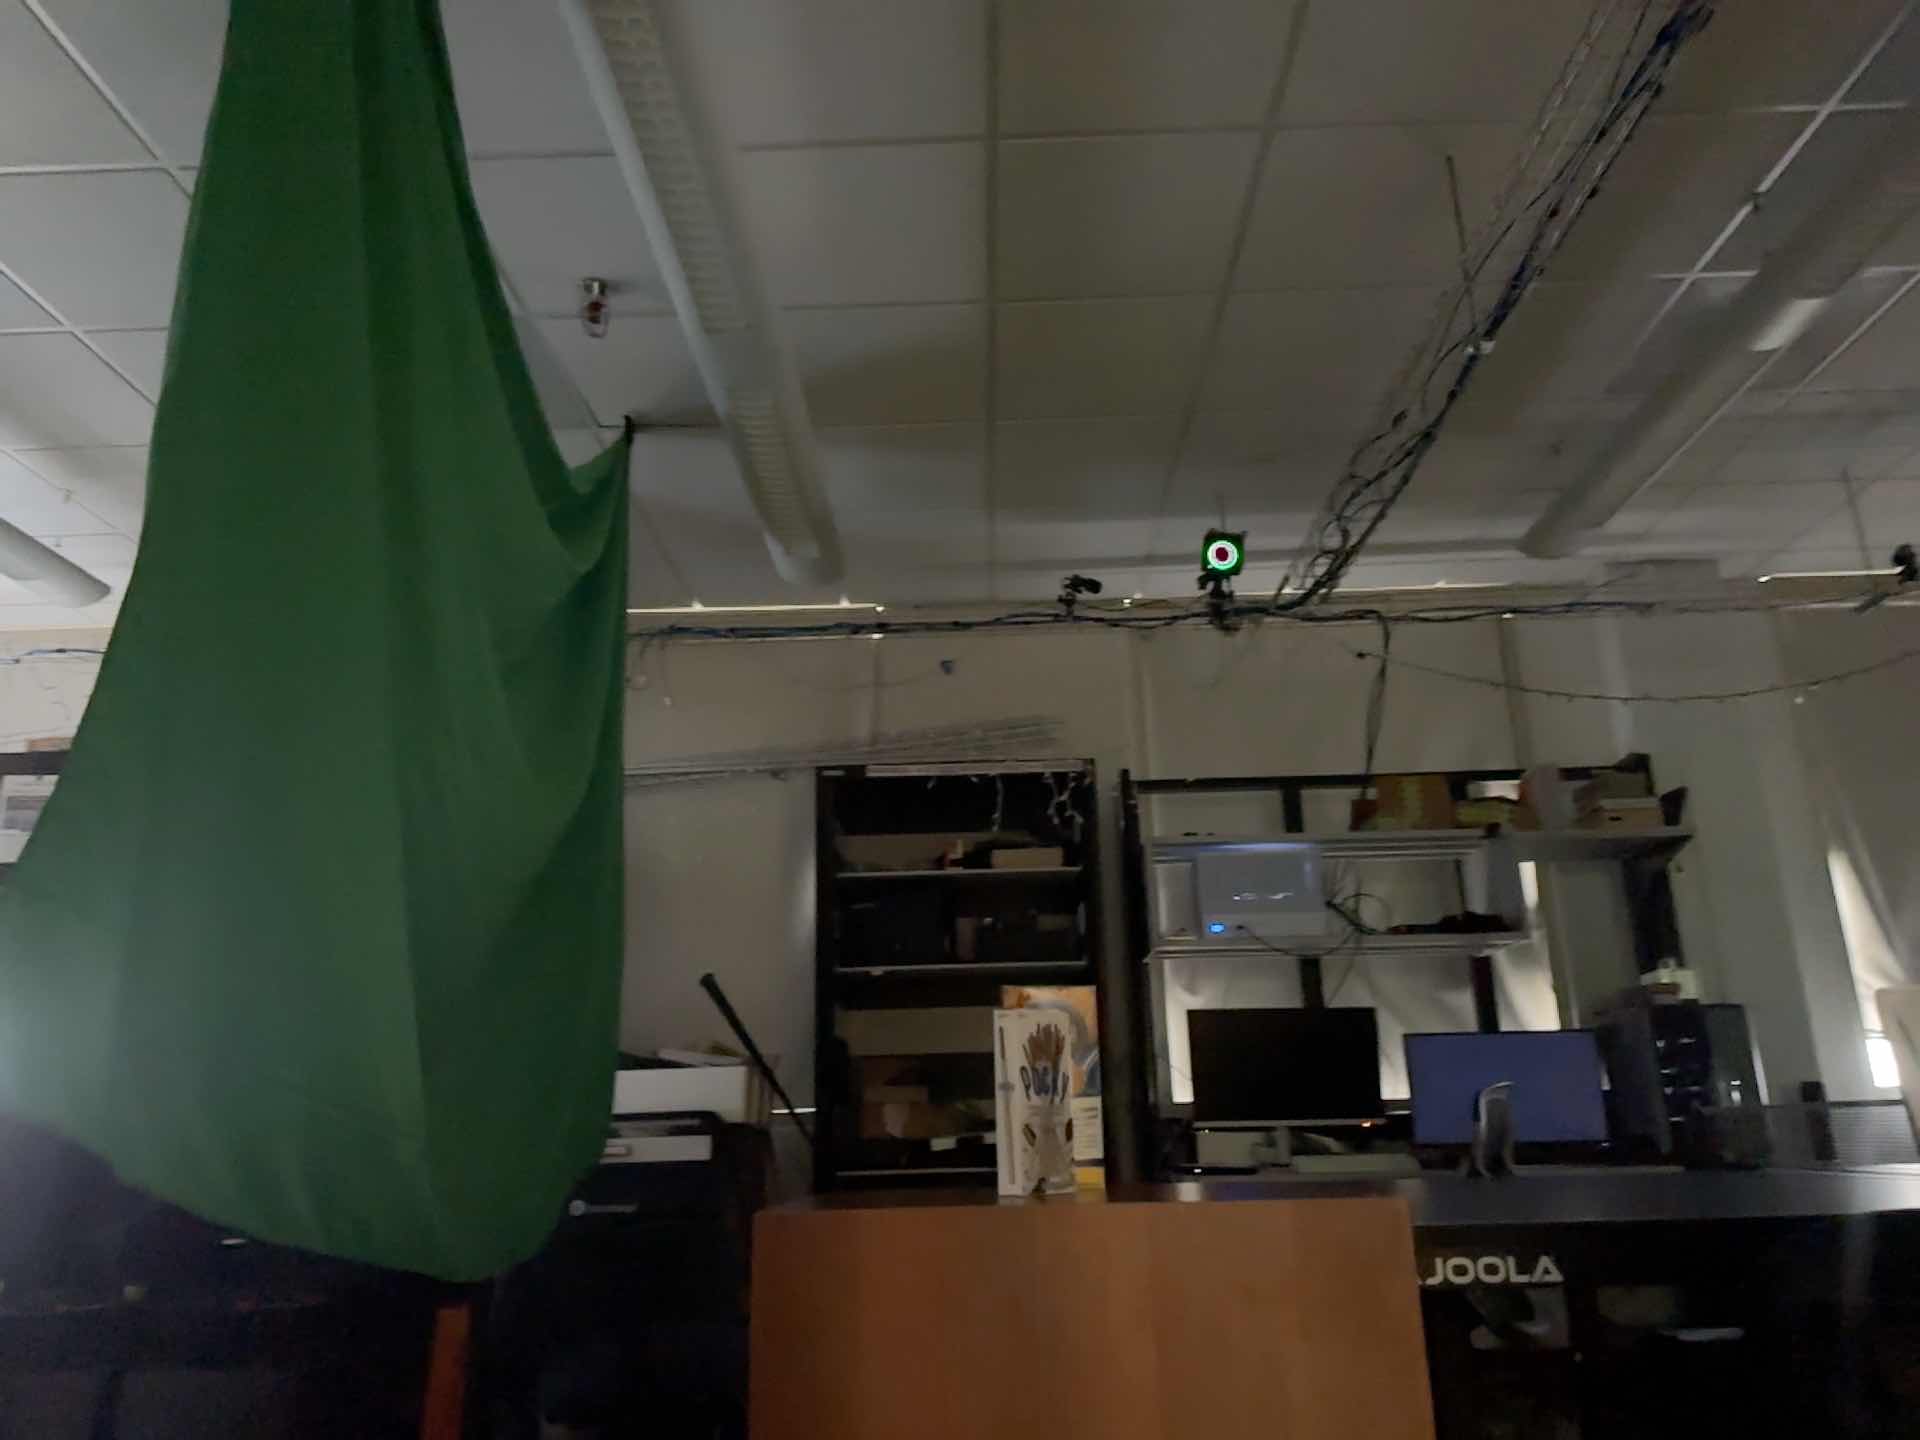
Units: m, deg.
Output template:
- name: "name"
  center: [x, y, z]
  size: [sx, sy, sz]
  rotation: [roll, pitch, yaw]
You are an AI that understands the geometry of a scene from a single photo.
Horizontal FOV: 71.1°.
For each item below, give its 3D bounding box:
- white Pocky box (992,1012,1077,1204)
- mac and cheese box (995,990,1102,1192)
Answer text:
- name: "white Pocky box"
  center: [0.064, 0.329, 1.144]
  size: [0.028, 0.154, 0.084]
  rotation: [-14, -21, 39]
- name: "mac and cheese box"
  center: [0.082, 0.349, 1.268]
  size: [0.088, 0.181, 0.035]
  rotation: [0, -17, -5]
